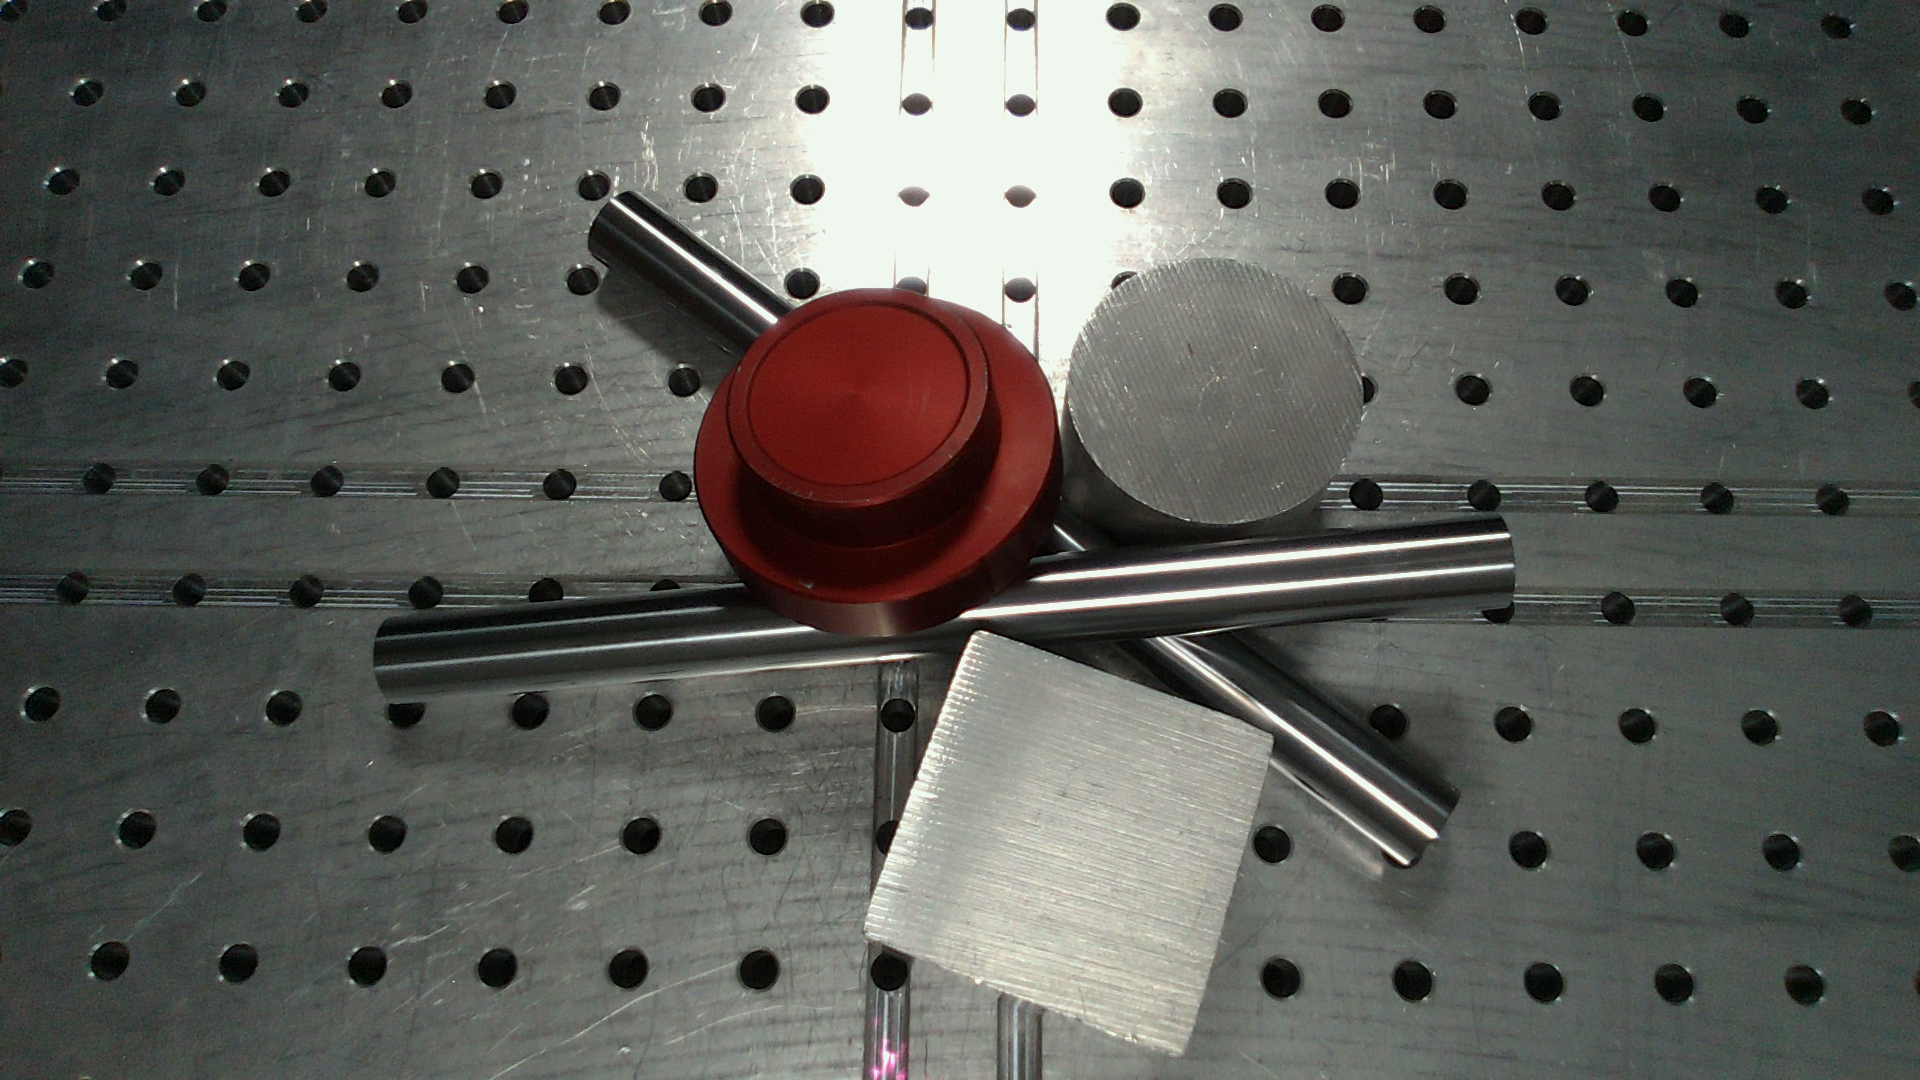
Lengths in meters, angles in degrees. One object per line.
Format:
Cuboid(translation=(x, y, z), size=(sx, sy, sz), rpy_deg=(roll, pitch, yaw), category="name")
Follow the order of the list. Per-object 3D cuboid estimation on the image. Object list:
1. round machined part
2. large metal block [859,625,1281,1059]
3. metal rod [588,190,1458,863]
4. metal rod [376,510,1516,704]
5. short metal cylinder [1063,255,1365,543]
Cuboid(translation=(-0.023, -0.027, 0.362), size=(0.098, 0.042, 0.098), rpy_deg=(-3, 61, 5), category="round machined part")
Cuboid(translation=(0.028, 0.078, 0.353), size=(0.080, 0.050, 0.080), rpy_deg=(19, 71, 7), category="large metal block")
Cuboid(translation=(0.009, -0.011, 0.401), size=(0.300, 0.025, 0.025), rpy_deg=(37, 74, 12), category="metal rod")
Cuboid(translation=(-0.009, 0.019, 0.370), size=(0.300, 0.025, 0.025), rpy_deg=(-6, 70, 6), category="metal rod")
Cuboid(translation=(0.069, -0.034, 0.395), size=(0.080, 0.050, 0.080), rpy_deg=(0, 70, 0), category="short metal cylinder")
